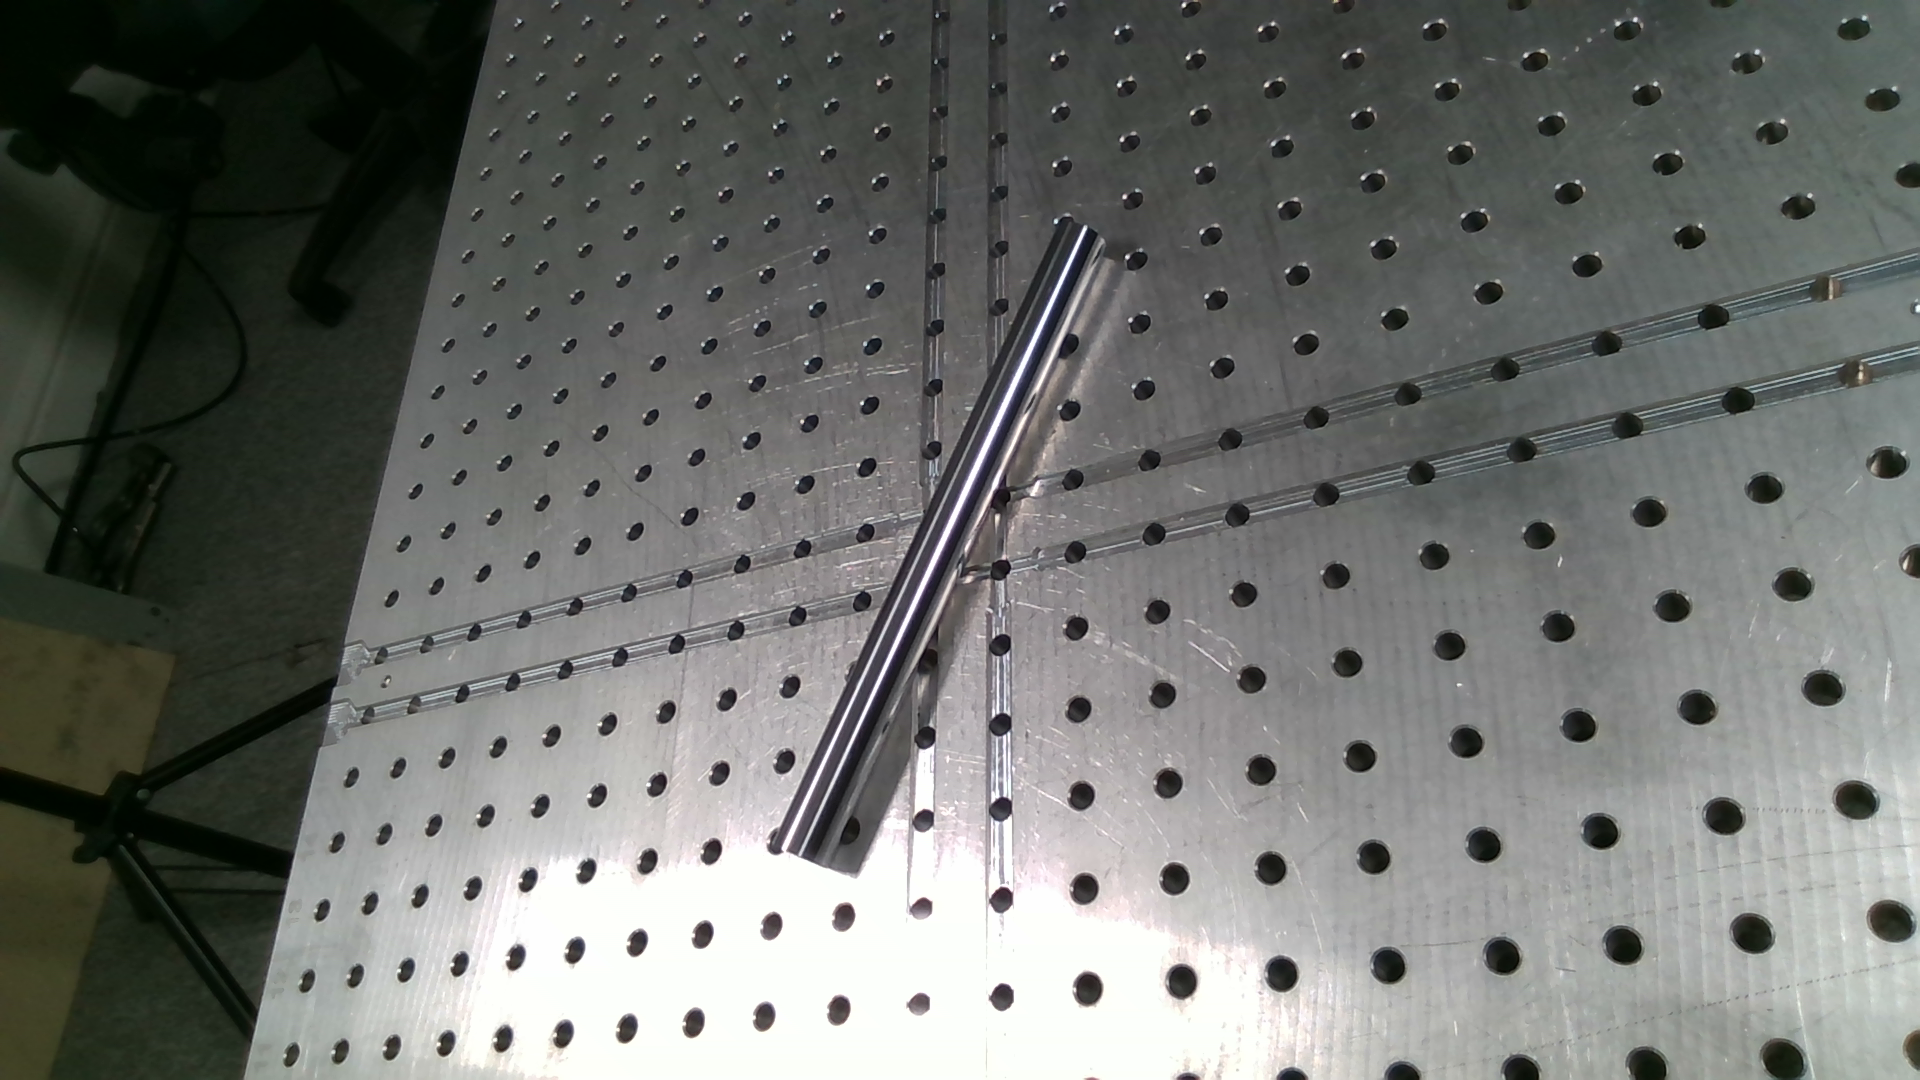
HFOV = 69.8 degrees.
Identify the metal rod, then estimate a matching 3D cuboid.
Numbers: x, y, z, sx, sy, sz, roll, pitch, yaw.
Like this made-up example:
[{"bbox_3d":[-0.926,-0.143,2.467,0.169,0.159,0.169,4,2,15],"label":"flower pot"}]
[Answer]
[{"bbox_3d":[-0.005,-0.004,0.594,0.025,0.025,0.300,15,74,36],"label":"metal rod"}]
